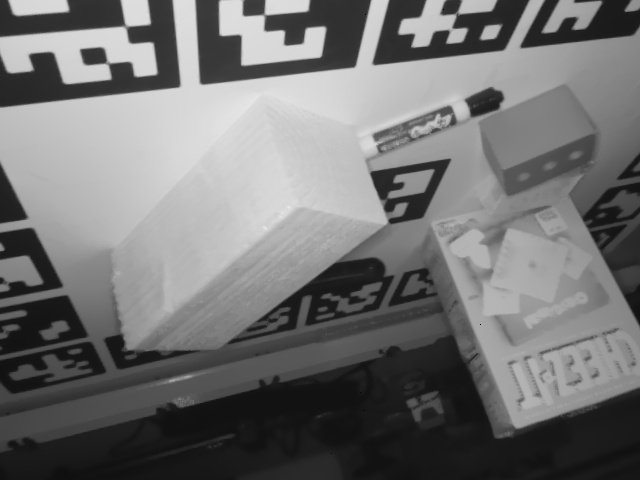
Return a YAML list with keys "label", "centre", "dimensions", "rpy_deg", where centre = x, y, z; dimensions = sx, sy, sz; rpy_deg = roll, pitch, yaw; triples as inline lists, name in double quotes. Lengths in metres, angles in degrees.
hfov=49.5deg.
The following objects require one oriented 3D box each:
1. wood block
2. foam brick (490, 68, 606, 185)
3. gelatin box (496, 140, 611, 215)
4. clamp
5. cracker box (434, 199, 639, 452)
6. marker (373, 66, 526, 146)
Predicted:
- label: "wood block"
  centre: [-0.051, -0.011, 0.531]
  dimensions: [0.091, 0.091, 0.203]
  rpy_deg: [11, 139, -42]
- label: "foam brick"
  centre: [0.188, -0.092, 0.570]
  dimensions: [0.078, 0.051, 0.053]
  rpy_deg: [-25, 145, 8]
- label: "gelatin box"
  centre: [0.219, -0.064, 0.653]
  dimensions: [0.090, 0.030, 0.072]
  rpy_deg: [-12, 145, -12]
- label: "clamp"
  centre: [-0.030, 0.049, 0.673]
  dimensions: [0.201, 0.037, 0.166]
  rpy_deg: [-29, 146, 13]
- label: "cracker box"
  centre: [0.226, 0.075, 0.677]
  dimensions: [0.165, 0.214, 0.071]
  rpy_deg: [-12, 148, -9]
- label: "marker"
  centre: [0.100, -0.104, 0.533]
  dimensions: [0.121, 0.020, 0.019]
  rpy_deg: [-22, 146, 3]
